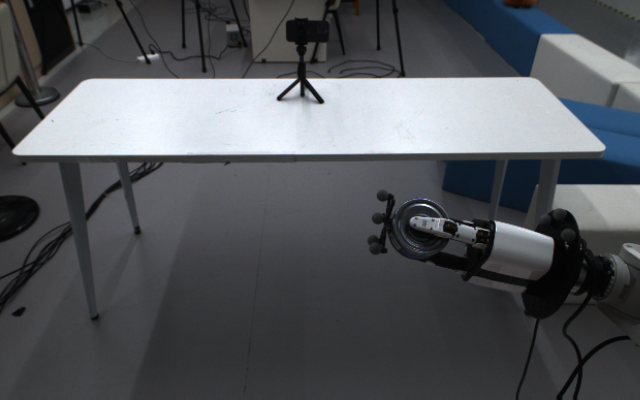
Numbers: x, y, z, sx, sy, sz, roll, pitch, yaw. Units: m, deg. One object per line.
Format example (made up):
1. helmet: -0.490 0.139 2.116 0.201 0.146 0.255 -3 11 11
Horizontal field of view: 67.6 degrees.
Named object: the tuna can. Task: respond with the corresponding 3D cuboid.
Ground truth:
1. tuna can: 0.143 0.038 0.694 0.085 0.034 0.085 2 73 -6
